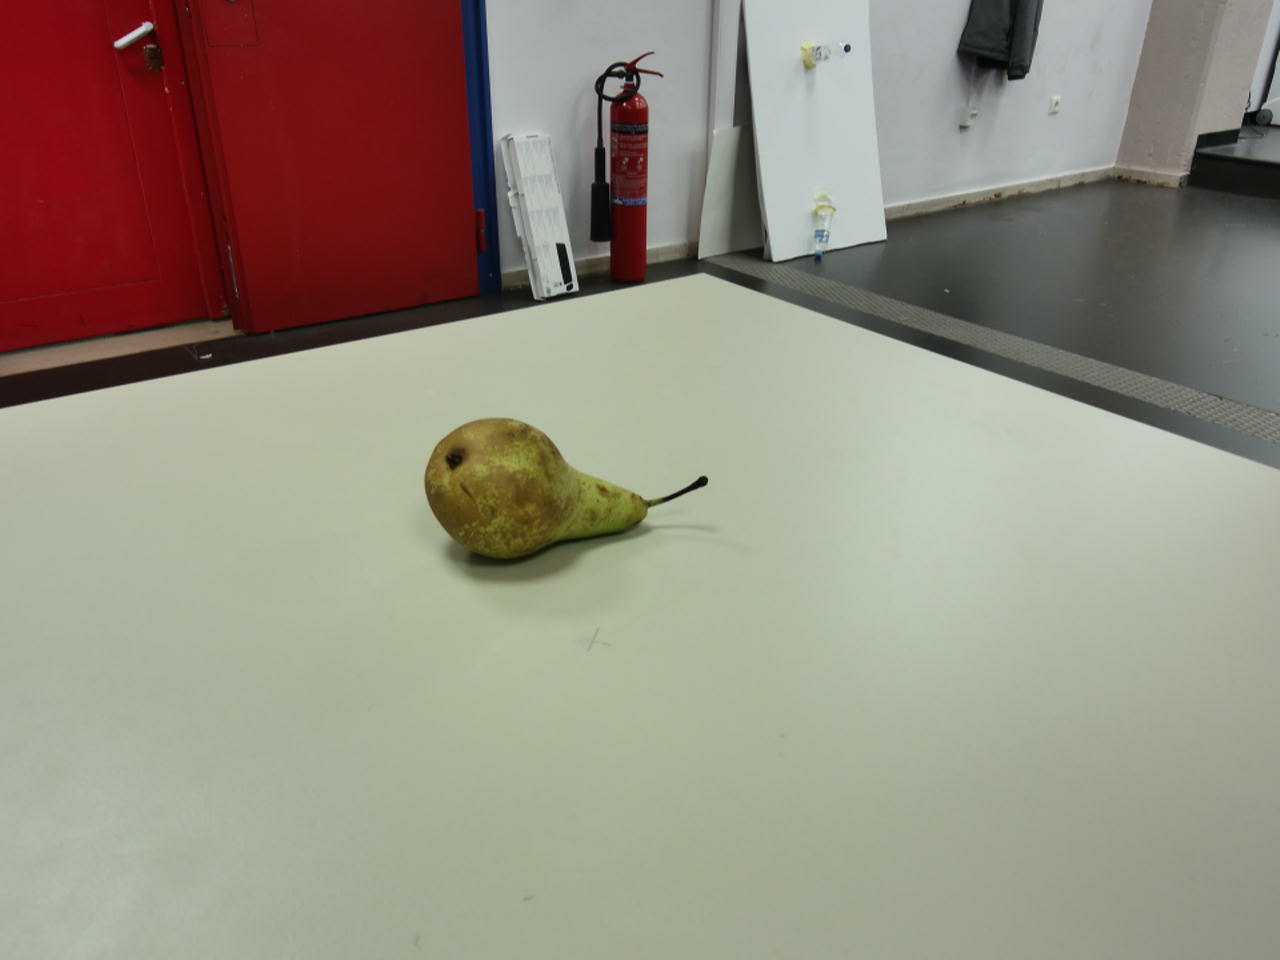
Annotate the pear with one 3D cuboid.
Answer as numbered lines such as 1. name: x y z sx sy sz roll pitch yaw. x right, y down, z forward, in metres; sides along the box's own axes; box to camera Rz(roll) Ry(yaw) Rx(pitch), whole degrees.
1. pear: -0.043 -0.003 0.530 0.144 0.075 0.071 -14 28 -27
